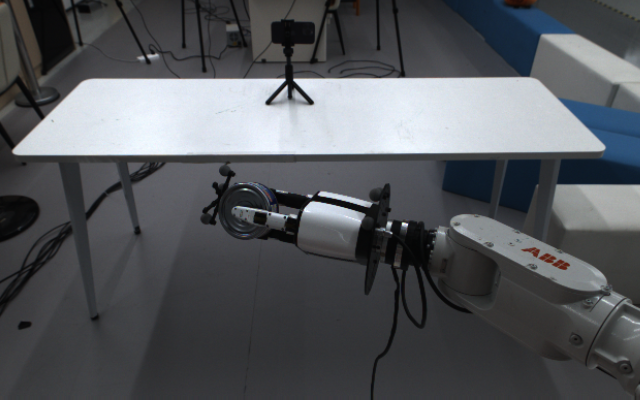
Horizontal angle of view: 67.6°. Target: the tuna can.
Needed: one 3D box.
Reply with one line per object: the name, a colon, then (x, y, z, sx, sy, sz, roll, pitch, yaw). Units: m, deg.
tuna can: (-0.105, 0.014, 0.719, 0.085, 0.085, 0.034, 12, 5, 14)
